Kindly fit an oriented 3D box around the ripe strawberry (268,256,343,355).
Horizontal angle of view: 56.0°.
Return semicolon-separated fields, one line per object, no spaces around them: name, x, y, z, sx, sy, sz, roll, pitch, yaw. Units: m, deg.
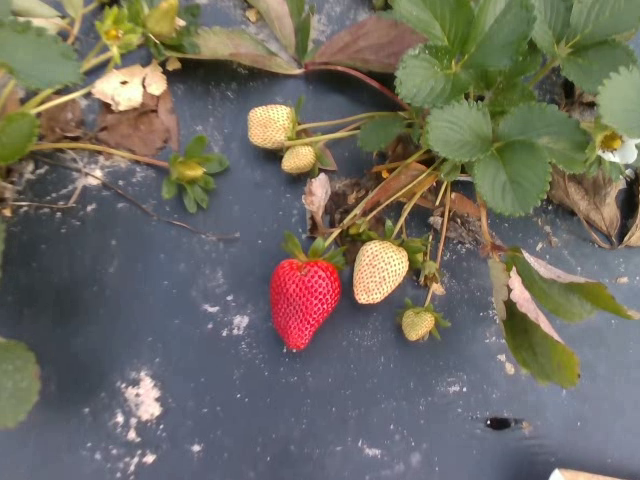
ripe strawberry;-0.009;0.034;0.335;0.050;0.059;0.033;4;-31;-1
